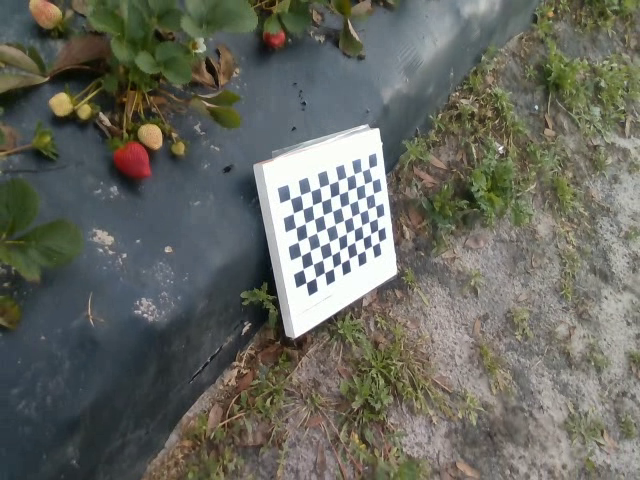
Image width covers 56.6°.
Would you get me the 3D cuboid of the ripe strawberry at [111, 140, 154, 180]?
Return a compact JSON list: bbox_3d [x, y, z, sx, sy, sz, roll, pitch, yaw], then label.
[{"bbox_3d":[-0.229,-0.098,0.740,0.050,0.059,0.034,-38,-17,-37],"label":"ripe strawberry"}]
